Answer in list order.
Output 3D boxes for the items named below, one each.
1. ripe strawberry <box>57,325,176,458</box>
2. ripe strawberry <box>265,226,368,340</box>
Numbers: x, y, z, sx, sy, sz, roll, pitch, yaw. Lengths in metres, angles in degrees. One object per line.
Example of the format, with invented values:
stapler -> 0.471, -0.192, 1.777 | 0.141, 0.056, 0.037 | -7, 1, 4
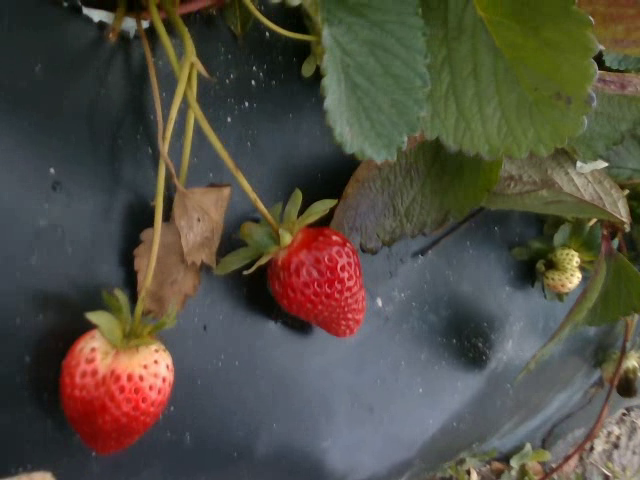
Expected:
ripe strawberry -> -0.058, 0.046, 0.183 | 0.036, 0.041, 0.027 | 5, 16, -34
ripe strawberry -> 0.002, 0.016, 0.229 | 0.044, 0.059, 0.042 | -28, 31, 0
